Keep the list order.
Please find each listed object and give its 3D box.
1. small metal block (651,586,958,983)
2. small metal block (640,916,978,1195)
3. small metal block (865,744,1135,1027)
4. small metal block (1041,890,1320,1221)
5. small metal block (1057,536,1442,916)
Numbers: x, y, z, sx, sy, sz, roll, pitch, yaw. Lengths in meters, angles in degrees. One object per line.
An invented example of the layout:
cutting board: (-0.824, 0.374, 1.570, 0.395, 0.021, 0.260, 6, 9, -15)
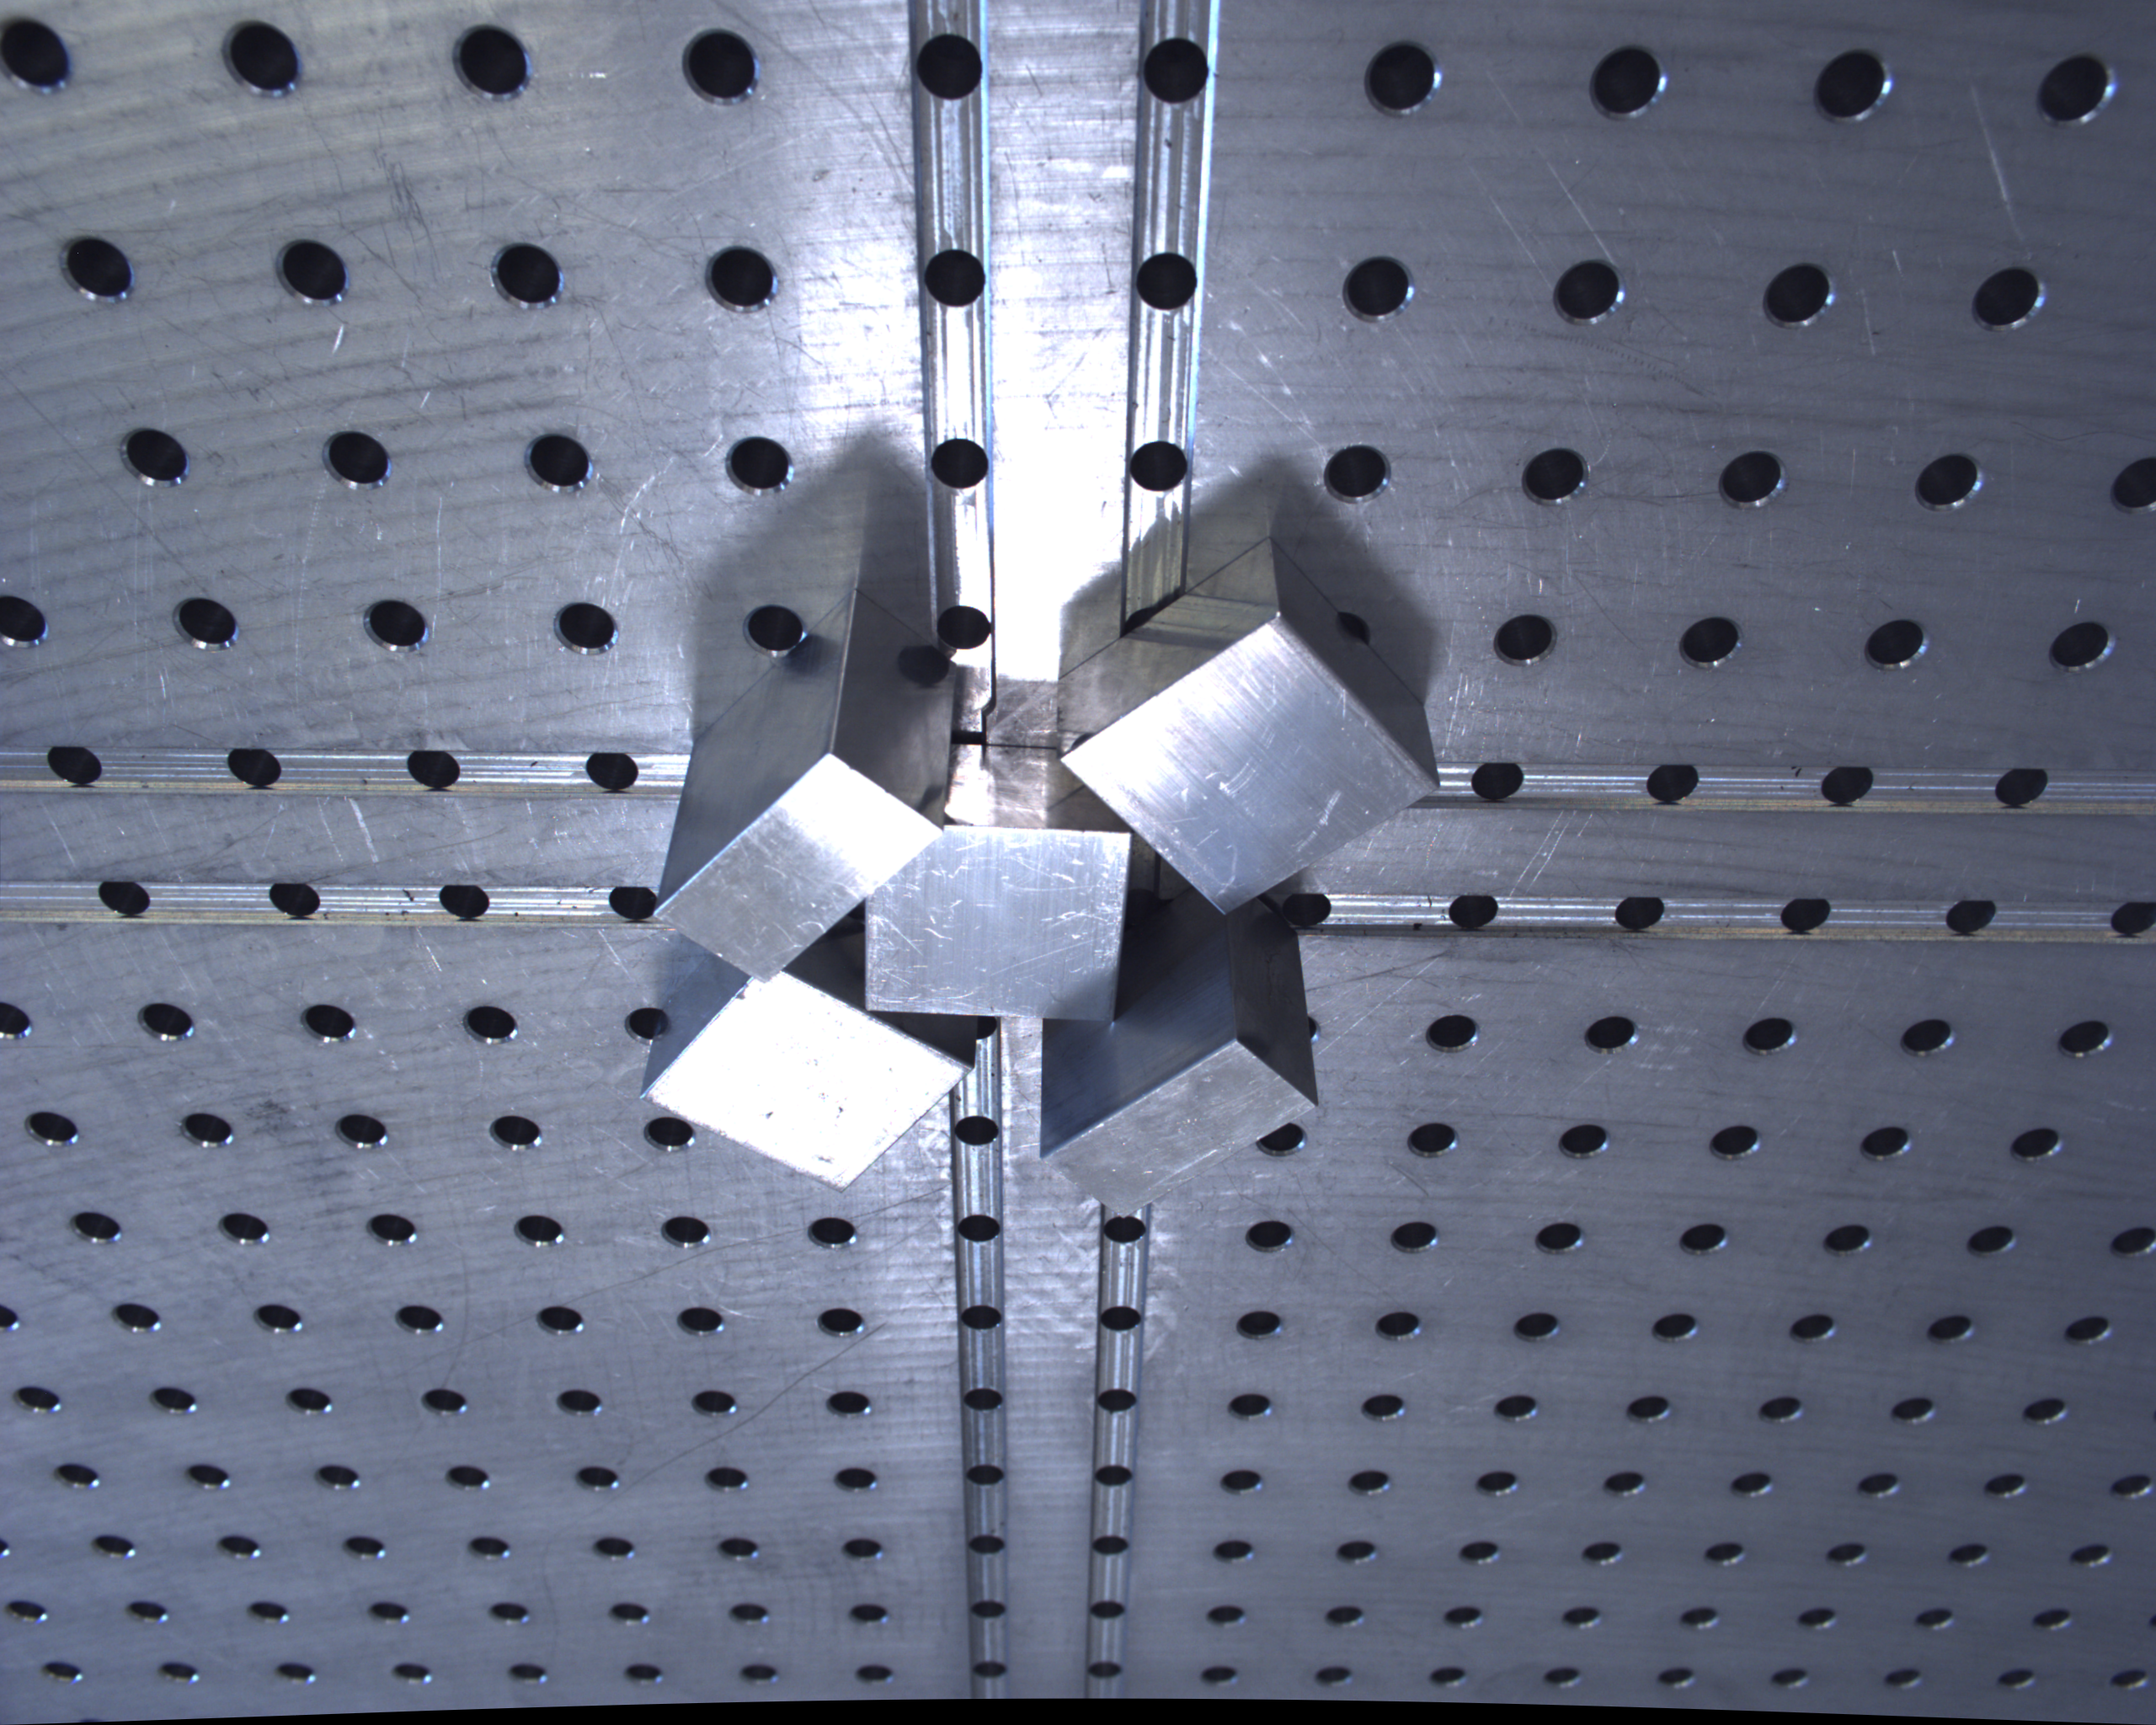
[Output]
small metal block: (-0.049, -0.014, 0.382, 0.025, 0.050, 0.050, 36, 122, -27)
small metal block: (-0.056, 0.038, 0.443, 0.050, 0.025, 0.050, 30, 123, -24)
small metal block: (-0.016, 0.004, 0.414, 0.050, 0.025, 0.050, 3, 129, -2)
small metal block: (0.020, 0.037, 0.426, 0.050, 0.050, 0.025, -35, 122, 25)
small metal block: (0.032, -0.024, 0.391, 0.050, 0.025, 0.050, -32, 123, 25)
